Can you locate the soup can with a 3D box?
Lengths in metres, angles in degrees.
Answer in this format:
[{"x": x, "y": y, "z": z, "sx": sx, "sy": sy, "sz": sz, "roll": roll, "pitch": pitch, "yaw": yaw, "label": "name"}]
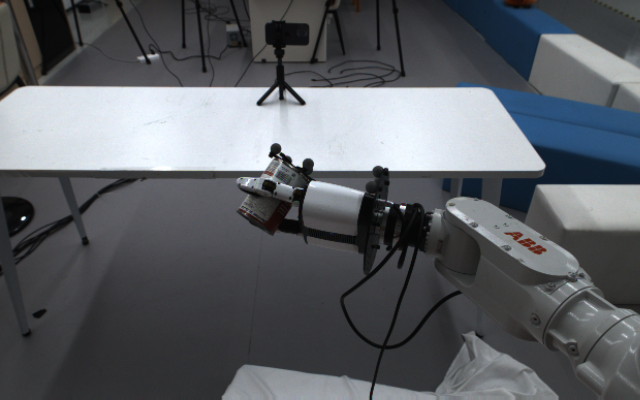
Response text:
[{"x": -0.072, "y": -0.004, "z": 0.747, "sx": 0.067, "sy": 0.067, "sz": 0.101, "roll": 27, "pitch": 78, "yaw": 31, "label": "soup can"}]
